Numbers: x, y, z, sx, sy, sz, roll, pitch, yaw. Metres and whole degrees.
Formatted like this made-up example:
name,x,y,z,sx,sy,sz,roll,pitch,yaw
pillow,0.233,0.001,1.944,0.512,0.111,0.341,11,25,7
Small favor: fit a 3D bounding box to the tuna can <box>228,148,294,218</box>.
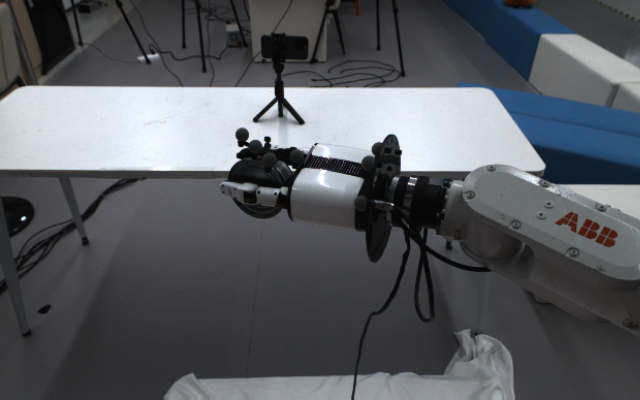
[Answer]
name,x,y,z,sx,sy,sz,roll,pitch,yaw
tuna can,-0.075,-0.021,0.642,0.085,0.085,0.034,16,29,19
